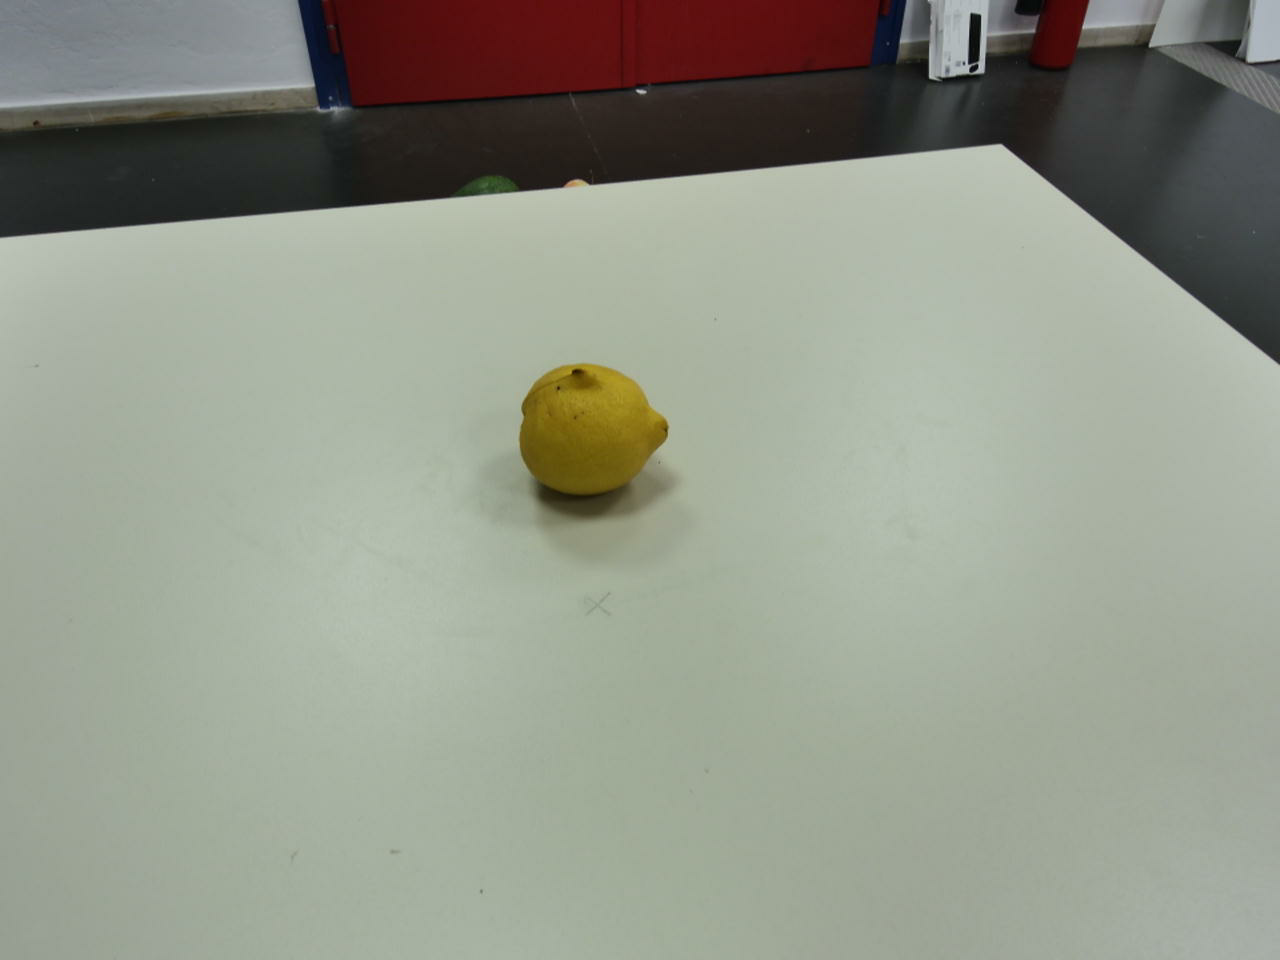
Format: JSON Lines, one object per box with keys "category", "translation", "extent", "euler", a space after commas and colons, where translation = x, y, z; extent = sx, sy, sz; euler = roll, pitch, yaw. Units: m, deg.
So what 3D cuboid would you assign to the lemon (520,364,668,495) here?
{"category": "lemon", "translation": [-0.028, -0.029, 0.516], "extent": [0.071, 0.071, 0.070], "euler": [32, 48, 32]}
